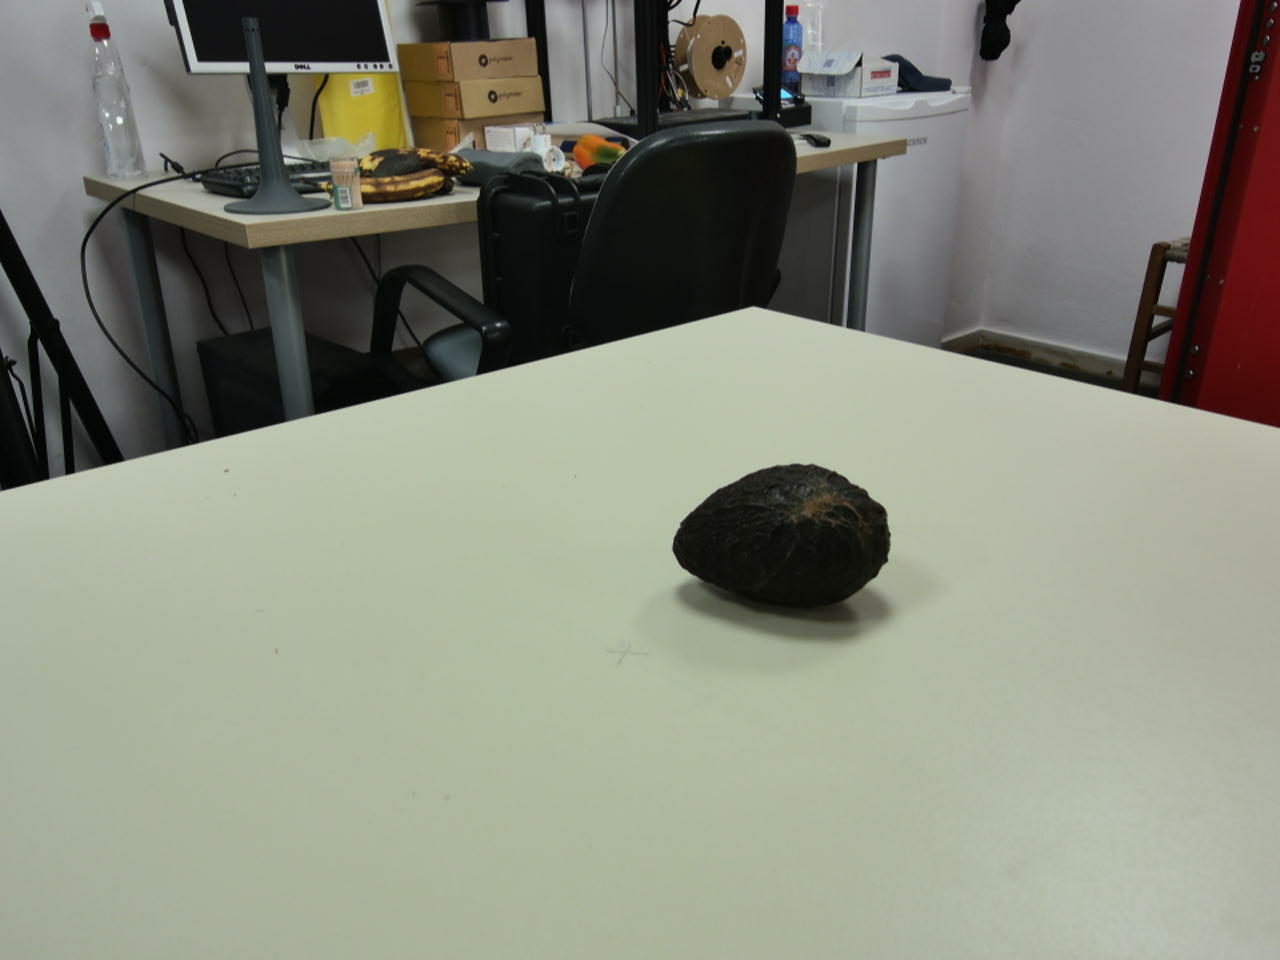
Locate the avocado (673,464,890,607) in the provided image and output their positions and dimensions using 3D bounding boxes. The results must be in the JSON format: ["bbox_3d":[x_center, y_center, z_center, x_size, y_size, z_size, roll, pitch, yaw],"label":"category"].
[{"bbox_3d":[0.062,0.023,0.437,0.092,0.062,0.062,11,24,25],"label":"avocado"}]
